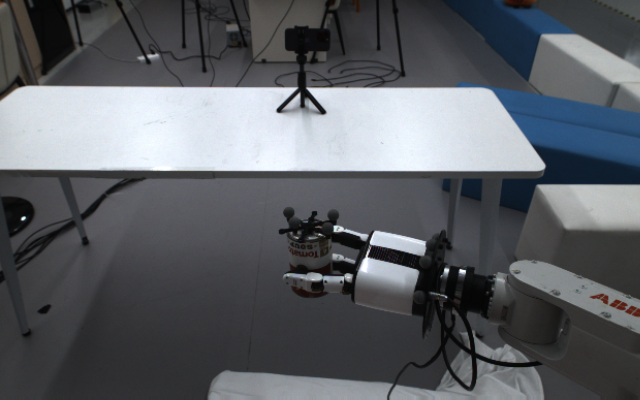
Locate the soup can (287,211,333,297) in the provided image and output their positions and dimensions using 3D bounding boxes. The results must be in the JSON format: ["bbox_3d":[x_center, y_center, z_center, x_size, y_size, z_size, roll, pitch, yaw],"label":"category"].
[{"bbox_3d":[-0.012,0.088,0.736,0.067,0.101,0.067,-3,27,2],"label":"soup can"}]
